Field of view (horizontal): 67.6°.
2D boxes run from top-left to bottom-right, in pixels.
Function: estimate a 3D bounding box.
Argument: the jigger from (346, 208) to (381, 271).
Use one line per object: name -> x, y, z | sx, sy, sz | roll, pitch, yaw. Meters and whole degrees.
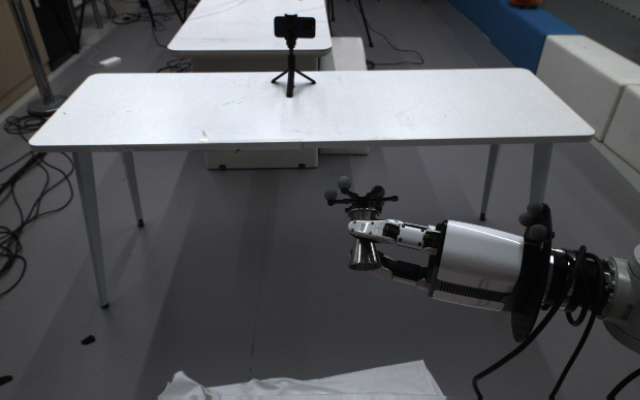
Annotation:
jigger -> 0.054, 0.046, 0.588 | 0.043, 0.043, 0.071 | 1, 70, -2
